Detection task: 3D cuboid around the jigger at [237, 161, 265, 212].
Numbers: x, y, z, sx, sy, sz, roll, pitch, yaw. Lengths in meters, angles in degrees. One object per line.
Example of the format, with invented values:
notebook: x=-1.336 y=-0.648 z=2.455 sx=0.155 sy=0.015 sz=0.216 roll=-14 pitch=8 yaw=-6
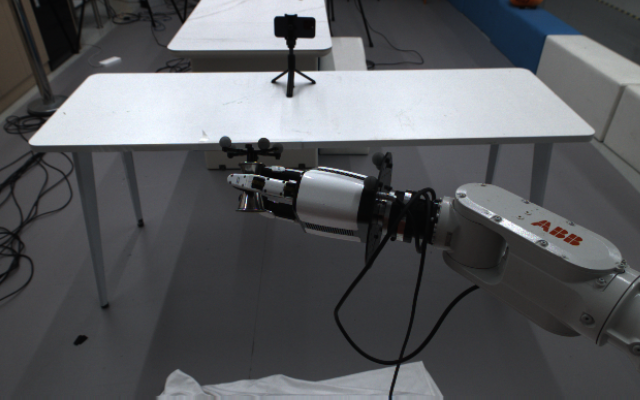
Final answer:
jigger: x=-0.098 y=-0.017 z=0.688 sx=0.043 sy=0.071 sz=0.043 roll=0 pitch=-5 yaw=0
